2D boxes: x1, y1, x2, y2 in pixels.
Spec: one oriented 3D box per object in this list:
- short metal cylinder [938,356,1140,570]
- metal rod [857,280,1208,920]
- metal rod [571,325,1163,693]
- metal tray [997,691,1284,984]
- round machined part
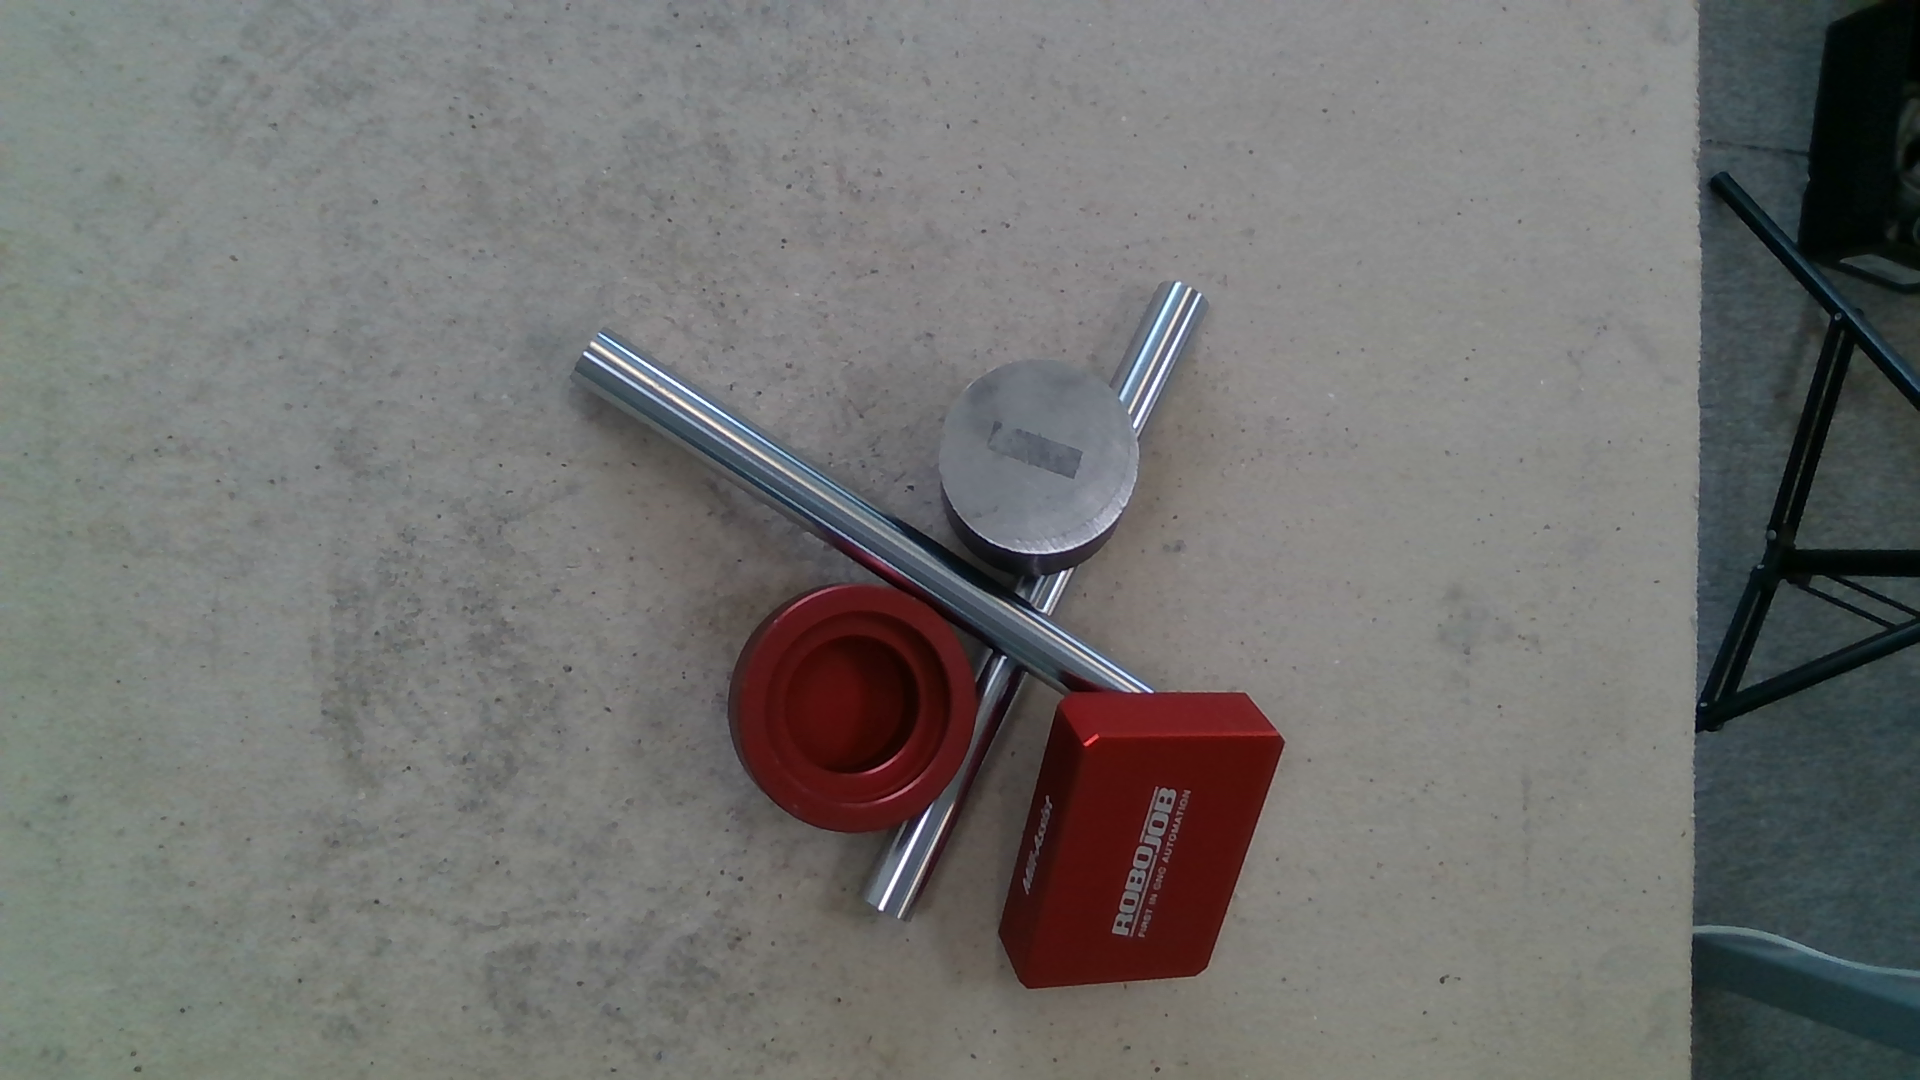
[{"bbox_3d":[0.031,-0.030,0.571,0.080,0.050,0.080,0,78,0],"label":"short metal cylinder"},{"bbox_3d":[0.034,0.021,0.600,0.025,0.025,0.300,30,80,-18],"label":"metal rod"},{"bbox_3d":[-0.020,0.008,0.561,0.300,0.025,0.025,33,79,-11],"label":"metal rod"},{"bbox_3d":[0.074,0.126,0.582,0.090,0.030,0.130,2,117,-20],"label":"metal tray"},{"bbox_3d":[-0.046,0.066,0.561,0.098,0.042,0.098,0,90,-20],"label":"round machined part"}]
